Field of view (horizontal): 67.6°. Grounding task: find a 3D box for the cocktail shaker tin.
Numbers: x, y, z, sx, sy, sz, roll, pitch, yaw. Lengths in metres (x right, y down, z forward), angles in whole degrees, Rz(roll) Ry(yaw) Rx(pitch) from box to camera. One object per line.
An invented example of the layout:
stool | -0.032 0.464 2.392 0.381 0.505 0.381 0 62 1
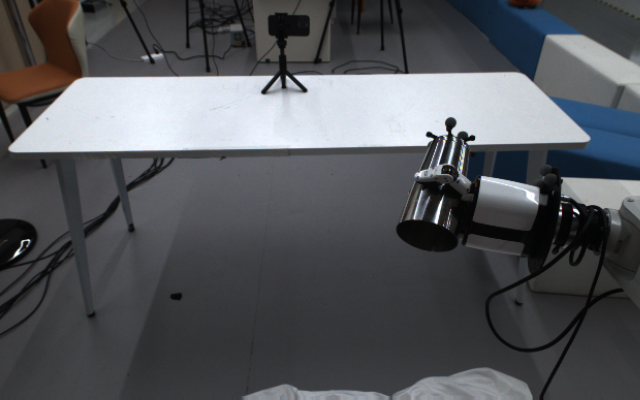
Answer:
cocktail shaker tin | 0.183 -0.017 0.749 0.093 0.093 0.170 14 60 17
